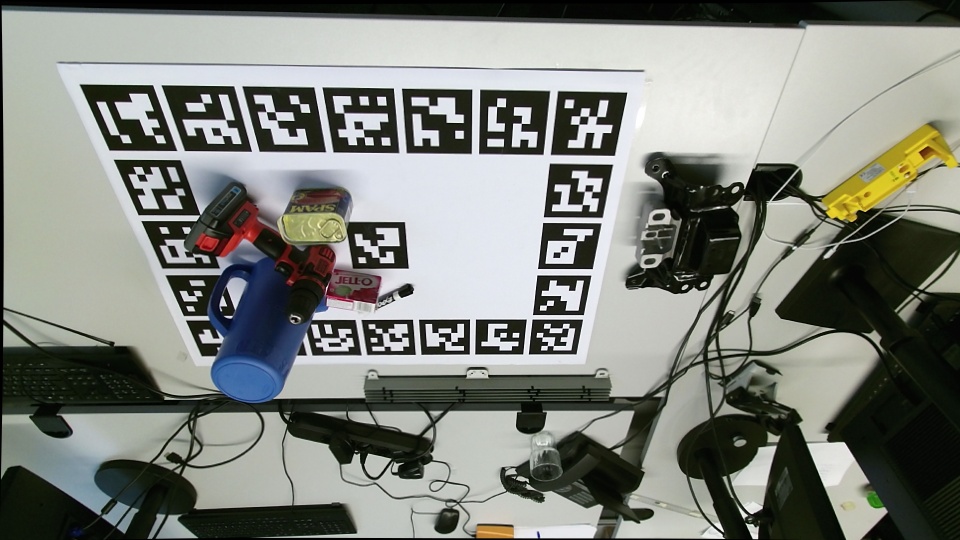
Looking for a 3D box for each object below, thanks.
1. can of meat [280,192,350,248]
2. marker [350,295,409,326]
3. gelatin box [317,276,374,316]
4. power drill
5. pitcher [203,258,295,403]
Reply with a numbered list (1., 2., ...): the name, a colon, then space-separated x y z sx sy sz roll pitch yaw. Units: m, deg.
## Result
1. can of meat: -0.265 -0.082 0.857 0.102 0.083 0.058 0 128 -1
2. marker: -0.189 0.076 1.014 0.121 0.019 0.020 -22 123 12
3. gelatin box: -0.241 0.045 0.961 0.090 0.073 0.030 10 121 -7
4. power drill: -0.333 -0.003 0.855 0.187 0.184 0.057 33 116 -16
5. pitcher: -0.383 0.093 0.895 0.189 0.241 0.133 25 118 -26
